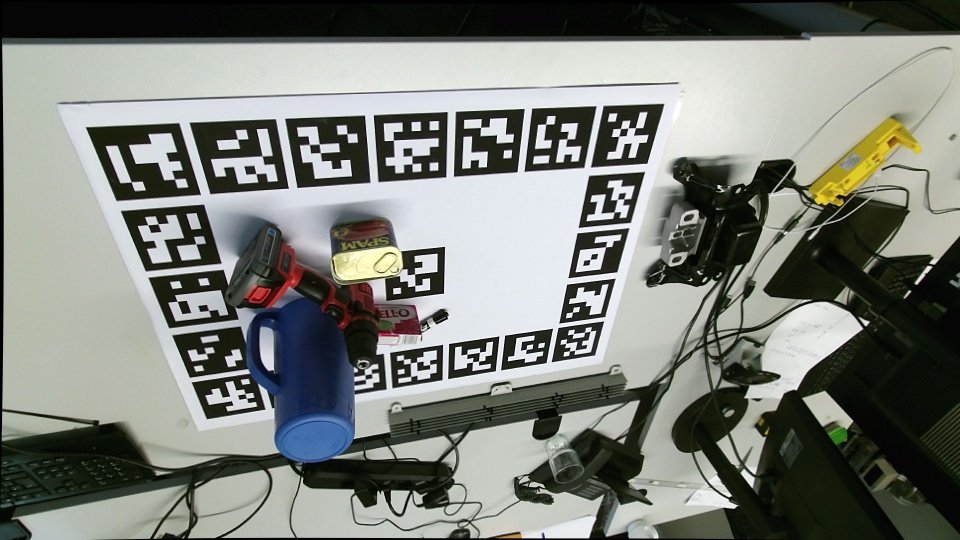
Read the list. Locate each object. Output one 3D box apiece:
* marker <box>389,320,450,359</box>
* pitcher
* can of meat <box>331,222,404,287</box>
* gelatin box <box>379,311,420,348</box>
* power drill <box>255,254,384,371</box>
[{"bbox_3d":[-0.108,0.125,0.974,0.121,0.019,0.020,-29,128,2],"label":"marker"},{"bbox_3d":[-0.272,0.163,0.818,0.189,0.241,0.133,21,112,-37],"label":"pitcher"},{"bbox_3d":[-0.171,-0.026,0.804,0.102,0.083,0.058,-8,128,-13],"label":"can of meat"},{"bbox_3d":[-0.152,0.100,0.911,0.090,0.073,0.030,3,119,-19],"label":"gelatin box"},{"bbox_3d":[-0.227,0.061,0.788,0.188,0.184,0.057,28,109,-26],"label":"power drill"}]
